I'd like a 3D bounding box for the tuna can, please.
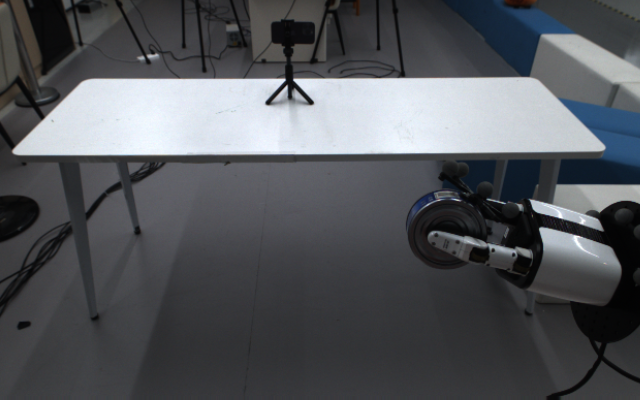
[{"bbox_3d":[0.143,0.039,0.534,0.085,0.085,0.034,7,19,6],"label":"tuna can"}]
